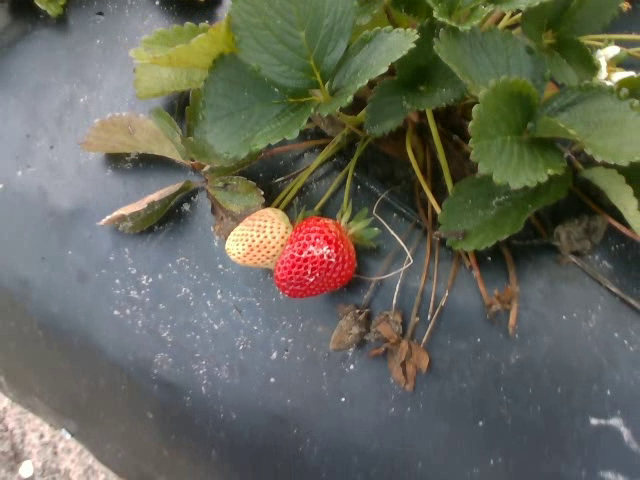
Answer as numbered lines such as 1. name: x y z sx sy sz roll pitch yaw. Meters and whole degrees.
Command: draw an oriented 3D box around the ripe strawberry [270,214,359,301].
1. ripe strawberry: -0.004 0.008 0.244 0.042 0.034 0.033 -30 -9 -29
